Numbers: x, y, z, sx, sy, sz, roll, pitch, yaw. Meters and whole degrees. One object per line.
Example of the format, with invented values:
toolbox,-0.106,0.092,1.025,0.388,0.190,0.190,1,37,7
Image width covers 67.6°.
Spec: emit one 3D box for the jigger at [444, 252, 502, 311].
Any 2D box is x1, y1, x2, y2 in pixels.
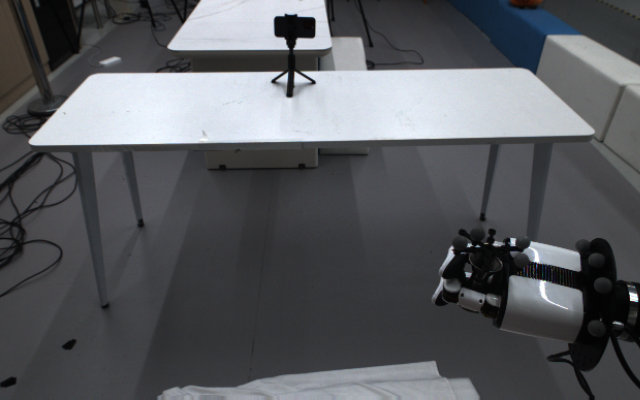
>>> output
jigger,0.202,0.101,0.611,0.043,0.071,0.043,4,31,-2
